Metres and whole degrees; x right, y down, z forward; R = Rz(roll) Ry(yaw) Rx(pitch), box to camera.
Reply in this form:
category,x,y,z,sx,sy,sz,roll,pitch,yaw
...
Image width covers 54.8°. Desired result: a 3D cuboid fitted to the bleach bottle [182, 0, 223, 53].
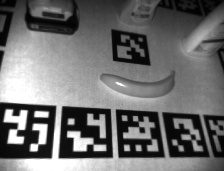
category,x,y,z,sx,sy,sz,roll,pitch,yaw
bleach bottle,0.286,-0.181,0.541,0.103,0.250,0.067,11,62,-12

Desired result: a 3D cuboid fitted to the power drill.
category,x,y,z,sx,sy,sz,roll,pitch,yaw
power drill,-0.081,-0.223,0.440,0.186,0.187,0.057,-3,66,-15

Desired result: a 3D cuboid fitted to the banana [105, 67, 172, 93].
category,x,y,z,sx,sy,sz,roll,pitch,yaw
banana,0.081,-0.018,0.507,0.199,0.039,0.074,-2,68,-16

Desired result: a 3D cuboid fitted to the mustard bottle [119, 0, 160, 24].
category,x,y,z,sx,sy,sz,roll,pitch,yaw
mustard bottle,0.091,-0.239,0.540,0.097,0.191,0.058,-3,66,-21
